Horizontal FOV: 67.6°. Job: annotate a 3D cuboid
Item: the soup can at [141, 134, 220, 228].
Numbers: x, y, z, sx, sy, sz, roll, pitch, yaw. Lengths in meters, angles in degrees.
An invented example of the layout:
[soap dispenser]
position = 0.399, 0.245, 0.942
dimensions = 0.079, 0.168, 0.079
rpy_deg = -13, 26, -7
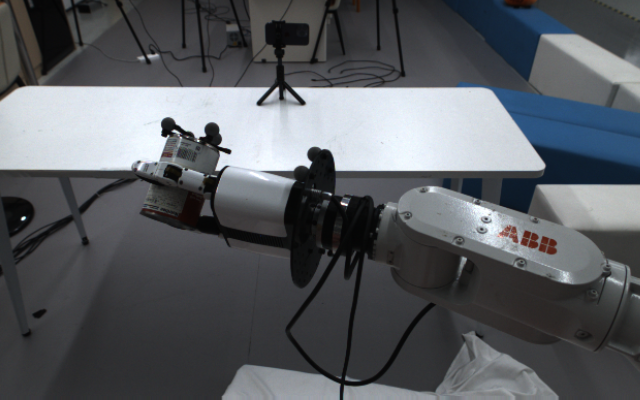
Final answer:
[soup can]
position = -0.168, -0.020, 0.590
dimensions = 0.067, 0.067, 0.101
rpy_deg = 13, 77, 15
